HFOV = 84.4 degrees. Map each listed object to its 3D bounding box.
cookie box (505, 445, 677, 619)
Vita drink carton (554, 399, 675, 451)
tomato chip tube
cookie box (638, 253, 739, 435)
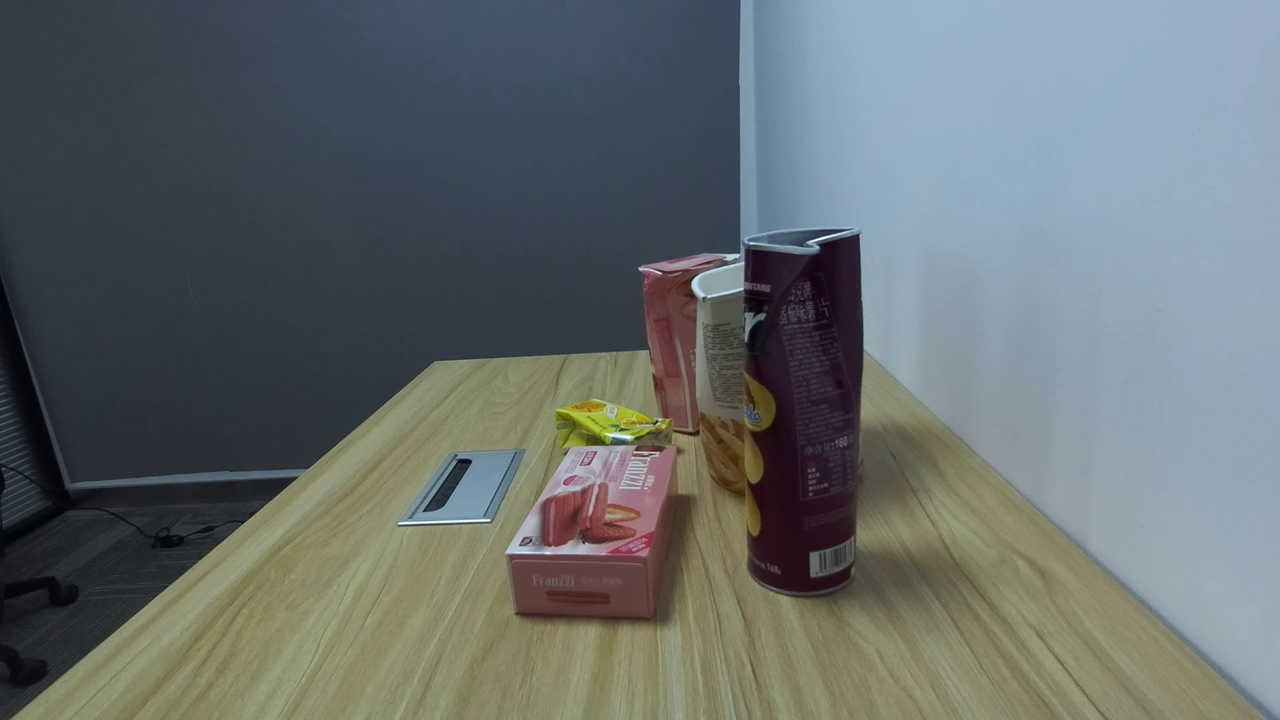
[{"bbox_3d":[-0.027,0.122,0.544,0.096,0.048,0.184,-2,15,9],"label":"cookie box"},{"bbox_3d":[-0.027,0.075,0.731,0.108,0.042,0.087,12,14,37],"label":"Vita drink carton"},{"bbox_3d":[0.110,0.035,0.474,0.077,0.235,0.076,1,16,13],"label":"tomato chip tube"},{"bbox_3d":[0.063,-0.019,0.776,0.119,0.184,0.055,-17,20,-38],"label":"cookie box"}]
